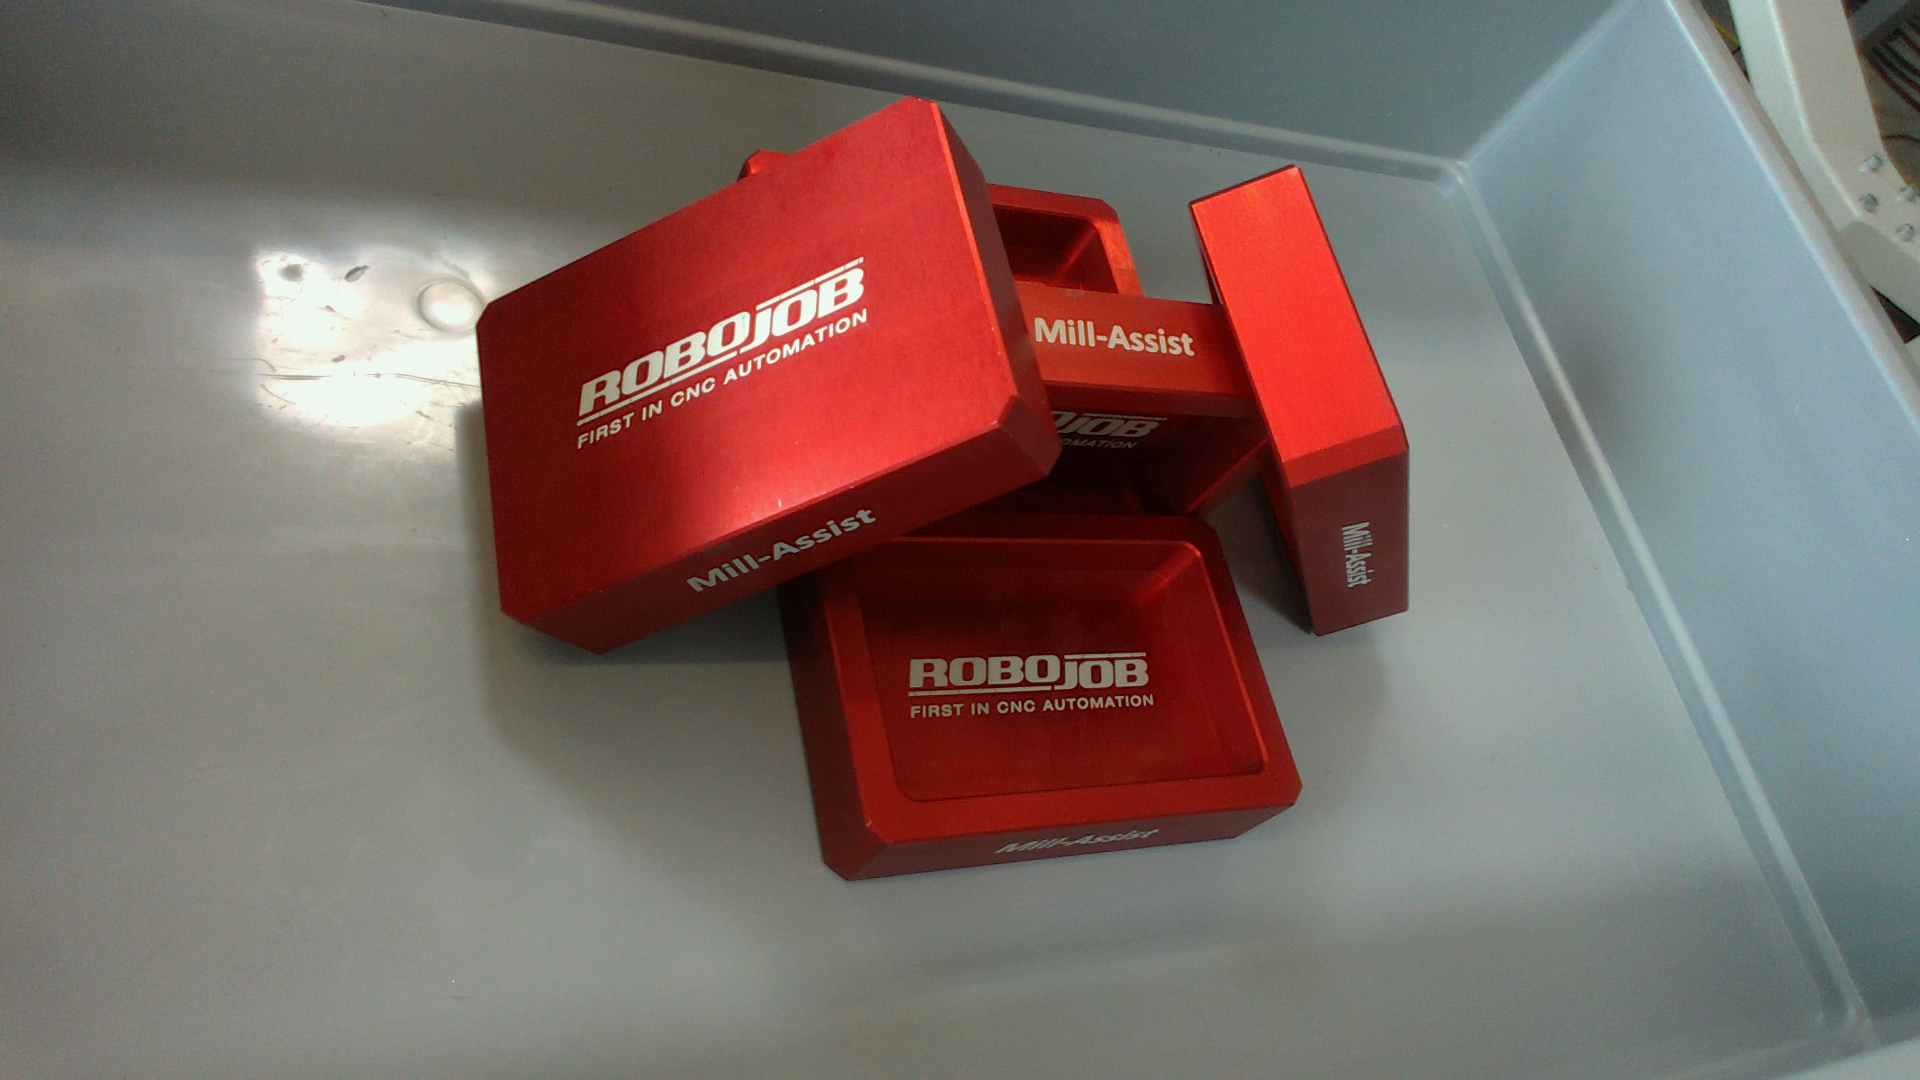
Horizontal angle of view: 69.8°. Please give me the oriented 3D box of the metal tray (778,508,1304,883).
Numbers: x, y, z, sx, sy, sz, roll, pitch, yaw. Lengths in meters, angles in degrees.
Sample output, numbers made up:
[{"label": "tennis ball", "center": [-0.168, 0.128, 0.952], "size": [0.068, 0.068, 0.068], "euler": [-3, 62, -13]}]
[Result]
[{"label": "metal tray", "center": [0.022, 0.038, 0.371], "size": [0.130, 0.030, 0.090], "euler": [1, 61, -29]}]

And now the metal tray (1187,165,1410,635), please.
[{"label": "metal tray", "center": [0.102, -0.035, 0.405], "size": [0.030, 0.130, 0.090], "euler": [-19, 64, 10]}]

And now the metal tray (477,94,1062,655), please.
[{"label": "metal tray", "center": [-0.050, -0.037, 0.325], "size": [0.030, 0.130, 0.090], "euler": [40, 32, -60]}]

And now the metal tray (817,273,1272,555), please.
[{"label": "metal tray", "center": [0.019, -0.029, 0.375], "size": [0.130, 0.090, 0.030], "euler": [1, 61, -29]}]

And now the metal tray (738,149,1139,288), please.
[{"label": "metal tray", "center": [-0.003, -0.068, 0.425], "size": [0.130, 0.030, 0.090], "euler": [0, 62, -29]}]
